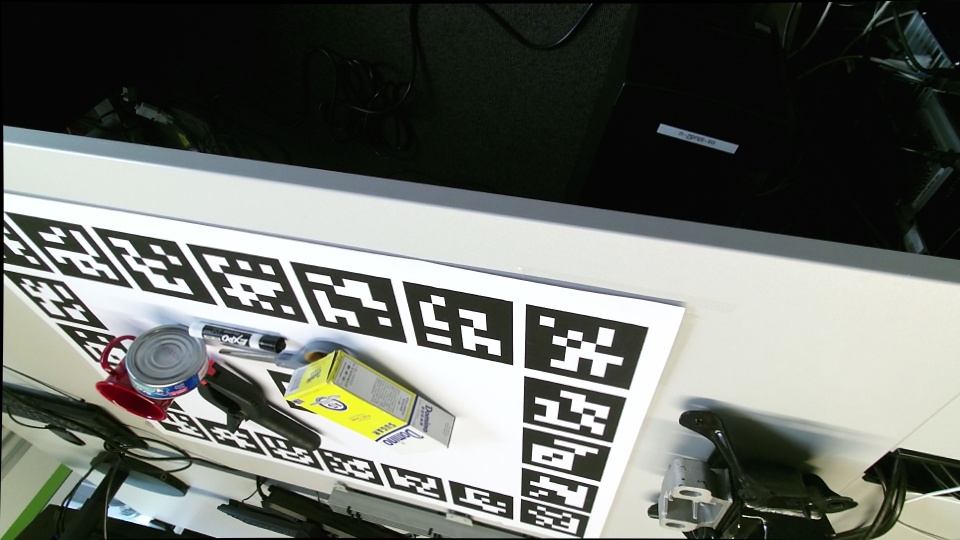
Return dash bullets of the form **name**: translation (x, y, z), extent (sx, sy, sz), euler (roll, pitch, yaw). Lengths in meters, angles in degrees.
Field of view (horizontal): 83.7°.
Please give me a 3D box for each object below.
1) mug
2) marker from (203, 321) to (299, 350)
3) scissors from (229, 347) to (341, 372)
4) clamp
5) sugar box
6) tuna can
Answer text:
- **mug**: translation (-0.426, 0.131, 0.701), extent (0.093, 0.081, 0.117), euler (-12, 132, 31)
- **marker**: translation (-0.266, 0.076, 0.623), extent (0.121, 0.019, 0.019), euler (7, 135, 14)
- **scissors**: translation (-0.221, 0.115, 0.641), extent (0.203, 0.016, 0.088), euler (3, 138, 21)
- **clamp**: translation (-0.327, 0.190, 0.766), extent (0.166, 0.036, 0.203), euler (2, 133, 20)
- **sugar box**: translation (-0.121, 0.159, 0.624), extent (0.093, 0.045, 0.177), euler (-21, 129, 37)
- **tuna can**: translation (-0.372, 0.107, 0.647), extent (0.086, 0.085, 0.034), euler (21, 138, 0)
